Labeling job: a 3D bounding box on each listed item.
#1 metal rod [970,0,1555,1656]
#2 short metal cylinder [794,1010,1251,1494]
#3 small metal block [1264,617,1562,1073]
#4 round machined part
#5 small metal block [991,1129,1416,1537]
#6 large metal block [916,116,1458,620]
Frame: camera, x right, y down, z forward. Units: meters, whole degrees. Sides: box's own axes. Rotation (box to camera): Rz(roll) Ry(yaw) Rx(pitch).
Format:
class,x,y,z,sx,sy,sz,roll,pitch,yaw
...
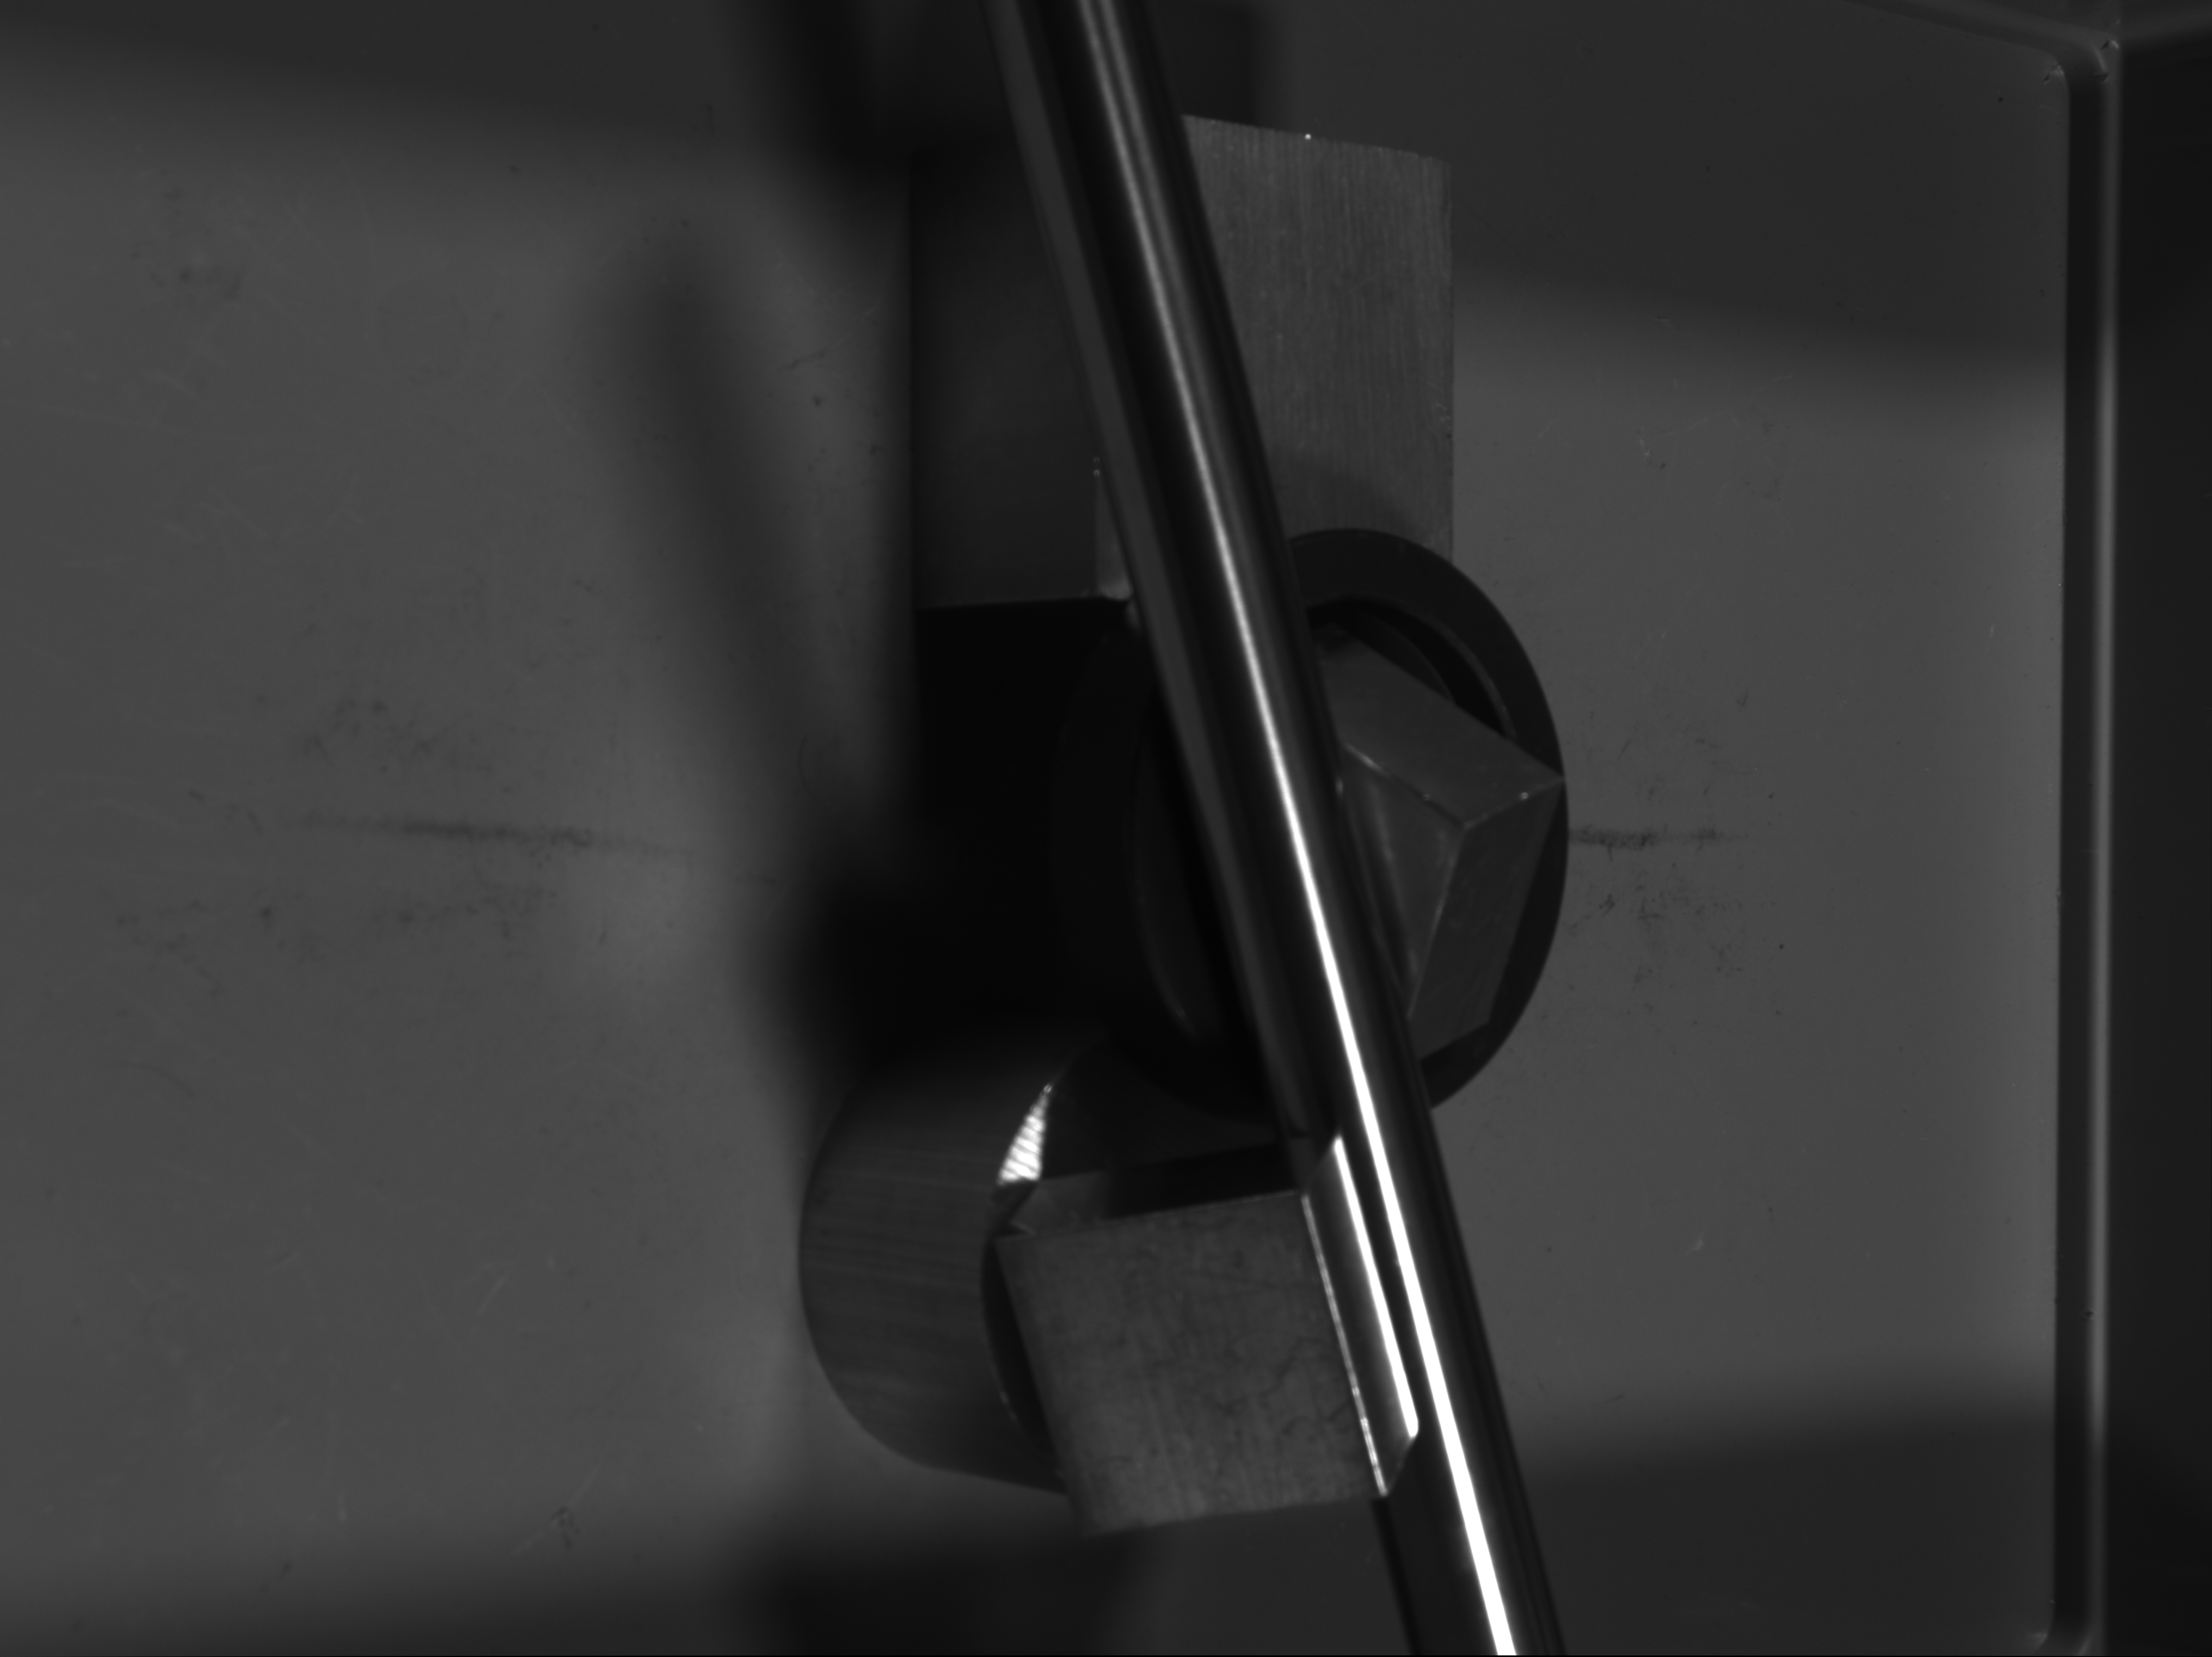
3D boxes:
class,x,y,z,sx,sy,sz,roll,pitch,yaw
metal rod,0.024,-0.003,0.566,0.025,0.025,0.300,-24,105,-37
short metal cylinder,-0.005,0.071,0.616,0.080,0.050,0.080,0,90,-40
small metal block,0.041,0.002,0.591,0.025,0.050,0.050,-24,140,-41
round machined part,0.029,0.000,0.611,0.098,0.042,0.098,0,90,-40
small metal block,0.016,0.078,0.565,0.025,0.050,0.050,-45,122,-68
large metal block,0.014,-0.076,0.630,0.080,0.050,0.080,0,90,-40
